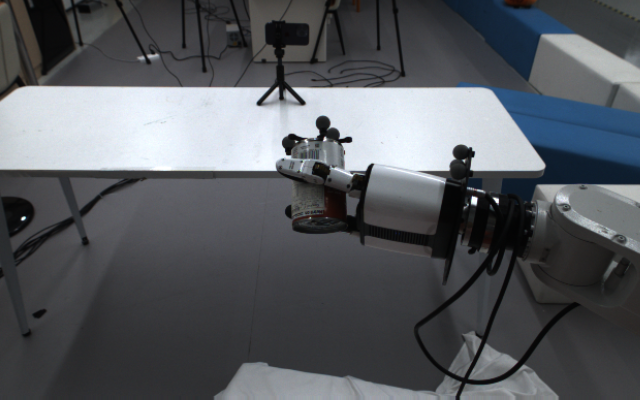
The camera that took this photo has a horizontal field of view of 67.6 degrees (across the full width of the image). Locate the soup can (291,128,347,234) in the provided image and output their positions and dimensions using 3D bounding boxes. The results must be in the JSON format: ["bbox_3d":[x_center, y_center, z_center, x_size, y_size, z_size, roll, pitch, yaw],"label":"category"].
[{"bbox_3d":[0.001,-0.017,0.586,0.067,0.067,0.101,-1,71,-5],"label":"soup can"}]
